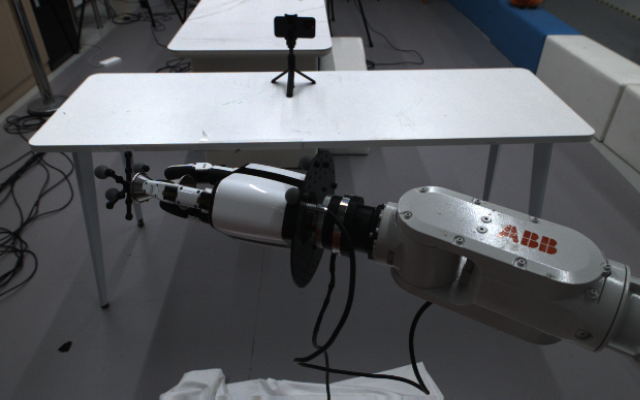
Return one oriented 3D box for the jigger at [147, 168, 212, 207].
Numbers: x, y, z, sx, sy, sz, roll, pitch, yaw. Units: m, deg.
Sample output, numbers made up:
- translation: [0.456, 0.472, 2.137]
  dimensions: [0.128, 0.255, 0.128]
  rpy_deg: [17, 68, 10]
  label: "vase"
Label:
- translation: [-0.188, -0.017, 0.609]
  dimensions: [0.071, 0.043, 0.043]
  rpy_deg: [5, 34, 15]
  label: "jigger"
